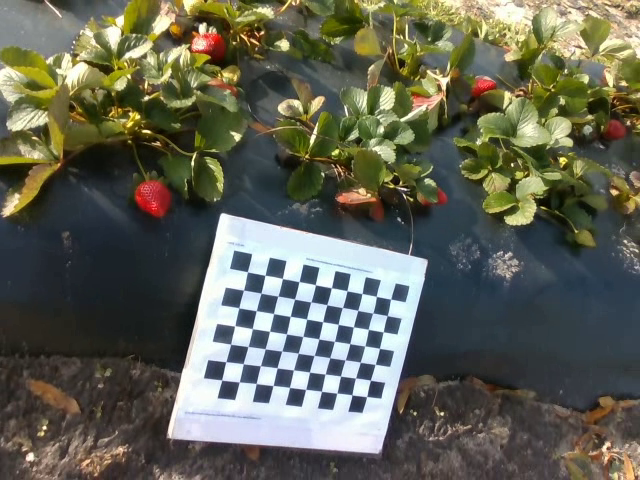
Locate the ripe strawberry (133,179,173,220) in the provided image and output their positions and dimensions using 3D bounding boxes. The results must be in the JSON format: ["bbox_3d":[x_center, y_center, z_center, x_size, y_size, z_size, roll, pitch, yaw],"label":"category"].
[{"bbox_3d":[-0.158,-0.037,0.537,0.041,0.041,0.047,-17,45,-9],"label":"ripe strawberry"}]
